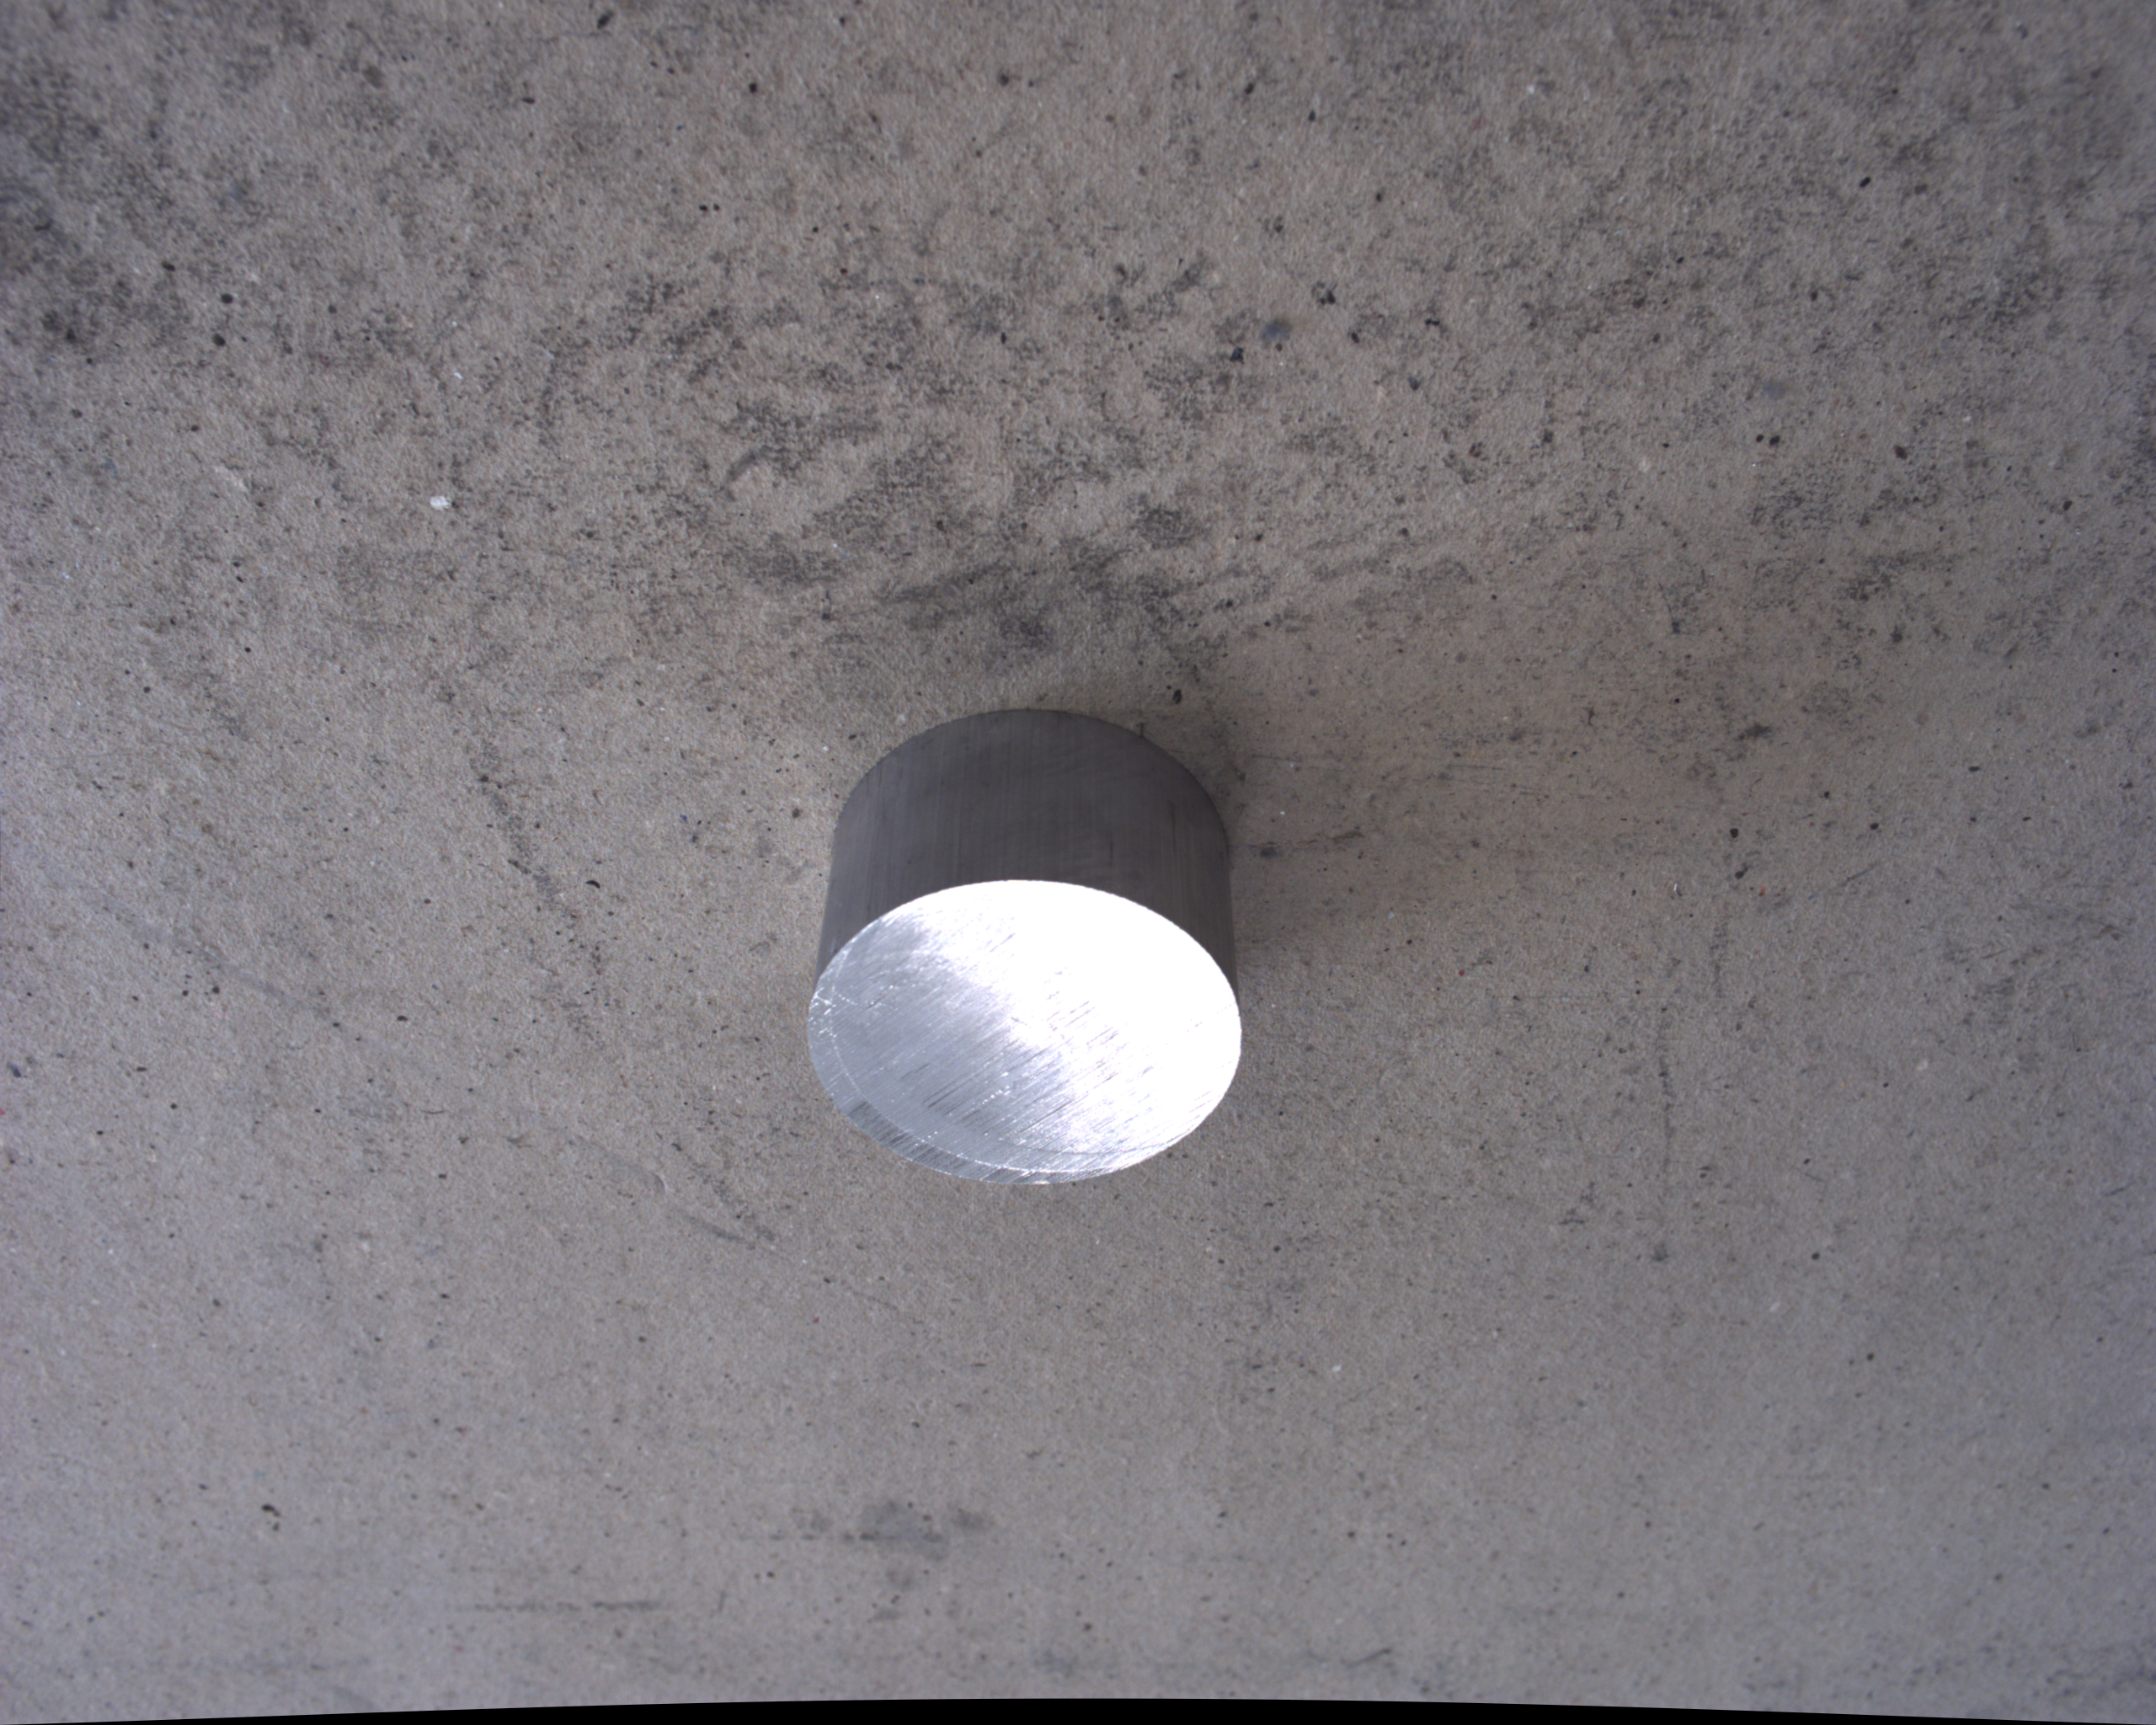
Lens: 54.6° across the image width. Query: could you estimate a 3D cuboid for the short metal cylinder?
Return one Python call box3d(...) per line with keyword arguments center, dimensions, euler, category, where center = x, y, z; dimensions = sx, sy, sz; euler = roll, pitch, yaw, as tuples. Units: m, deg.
box3d(center=(-0.010, 0.017, 0.407), dimensions=(0.080, 0.050, 0.080), euler=(-1, 130, -1), category="short metal cylinder")
